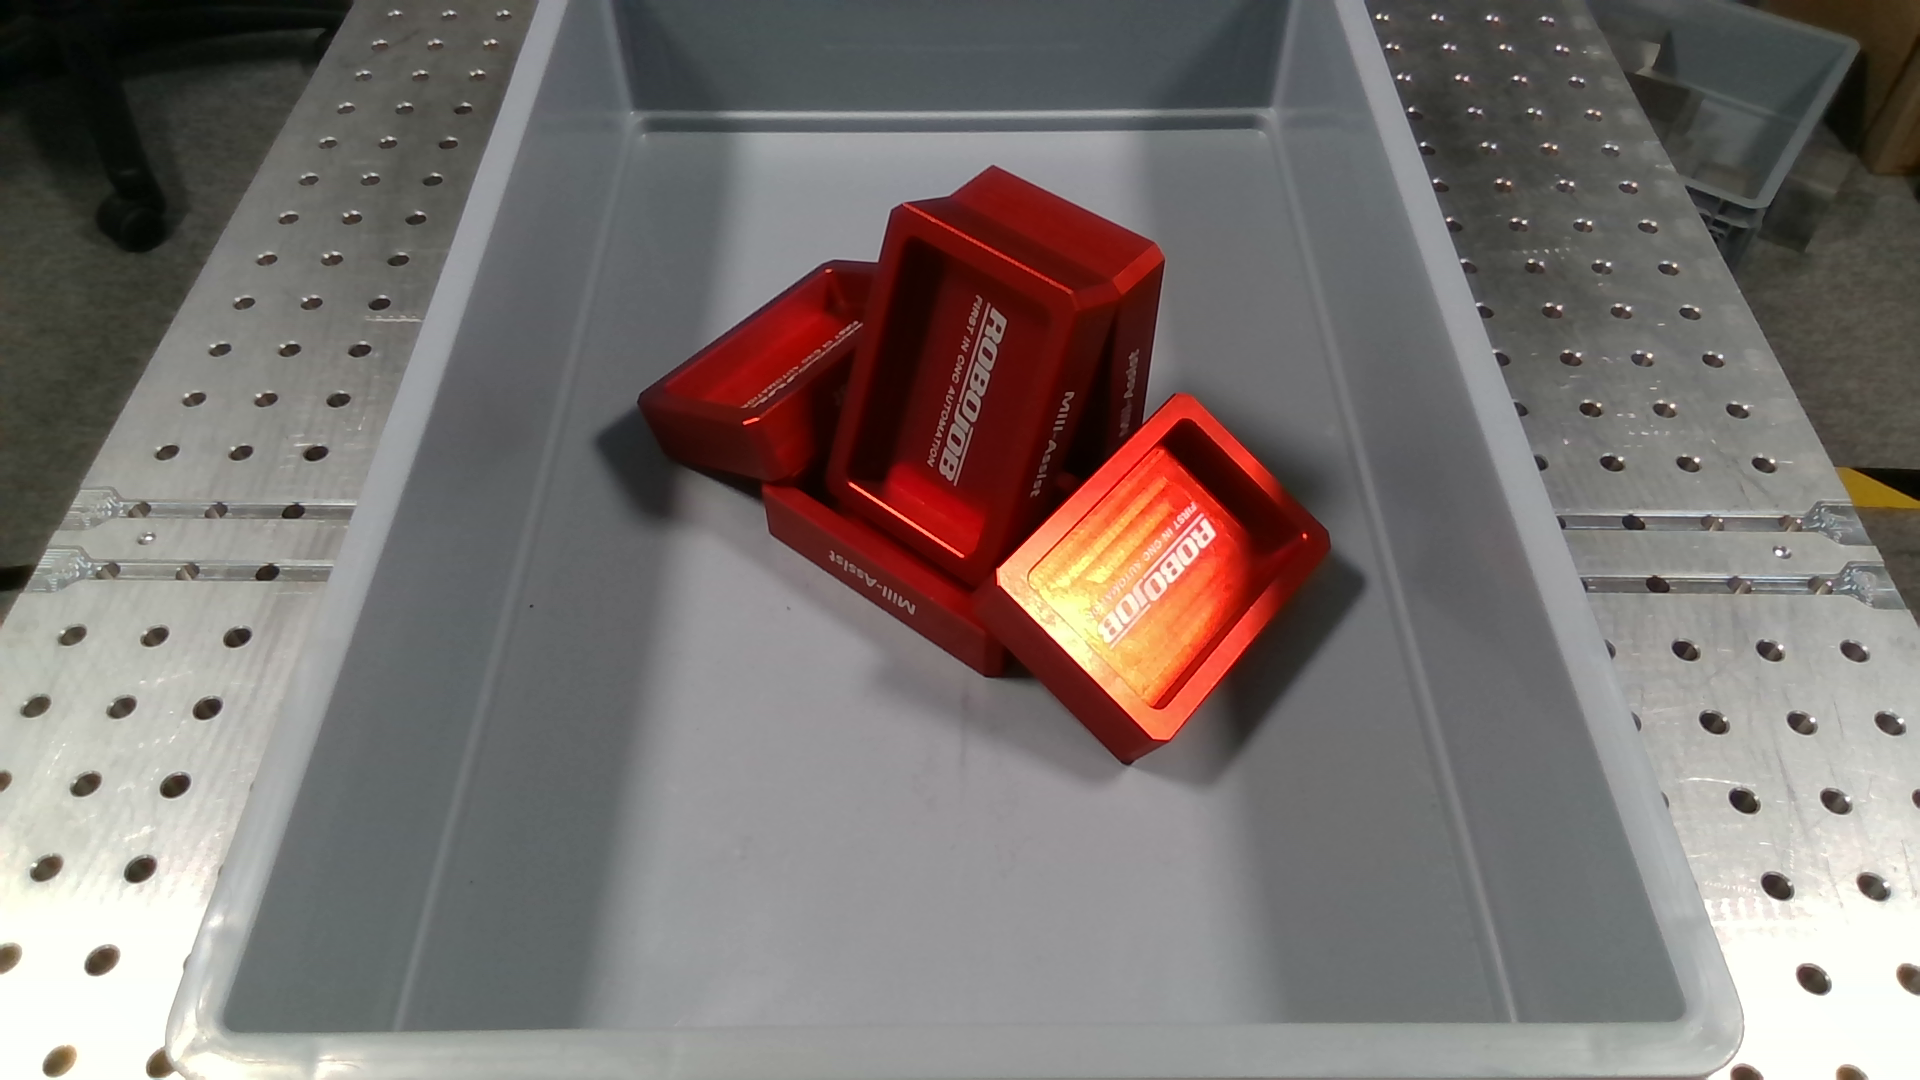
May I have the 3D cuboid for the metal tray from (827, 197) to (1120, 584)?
[{"bbox_3d":[0.001,-0.059,0.550,0.090,0.130,0.030,33,34,24],"label":"metal tray"}]

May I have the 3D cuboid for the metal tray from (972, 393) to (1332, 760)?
[{"bbox_3d":[0.079,0.012,0.550,0.090,0.030,0.130,45,60,2],"label":"metal tray"}]

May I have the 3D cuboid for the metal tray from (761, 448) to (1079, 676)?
[{"bbox_3d":[-0.009,-0.010,0.590,0.130,0.030,0.090,32,57,24],"label":"metal tray"}]

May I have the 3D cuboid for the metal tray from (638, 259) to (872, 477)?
[{"bbox_3d":[-0.070,-0.083,0.629,0.090,0.030,0.130,15,47,44],"label":"metal tray"}]

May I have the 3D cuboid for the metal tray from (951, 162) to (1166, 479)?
[{"bbox_3d":[0.035,-0.083,0.585,0.090,0.130,0.030,32,56,24],"label":"metal tray"}]
